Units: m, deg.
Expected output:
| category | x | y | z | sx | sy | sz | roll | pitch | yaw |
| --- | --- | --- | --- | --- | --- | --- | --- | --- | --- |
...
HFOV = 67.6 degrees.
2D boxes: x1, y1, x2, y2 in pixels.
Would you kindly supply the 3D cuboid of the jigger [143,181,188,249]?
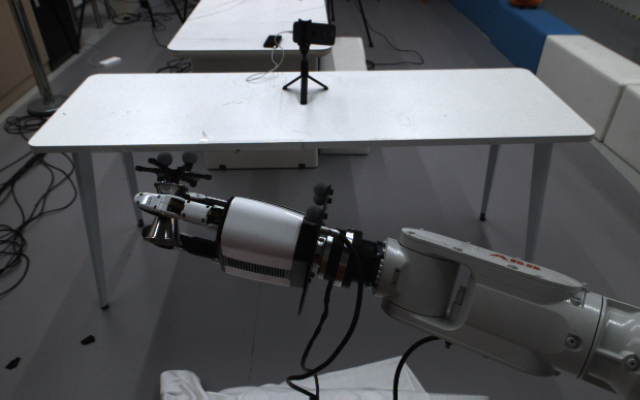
| category | x | y | z | sx | sy | sz | roll | pitch | yaw |
| --- | --- | --- | --- | --- | --- | --- | --- | --- | --- |
| jigger | -0.180 | 0.017 | 0.571 | 0.043 | 0.043 | 0.071 | 4 | 75 | 2 |
